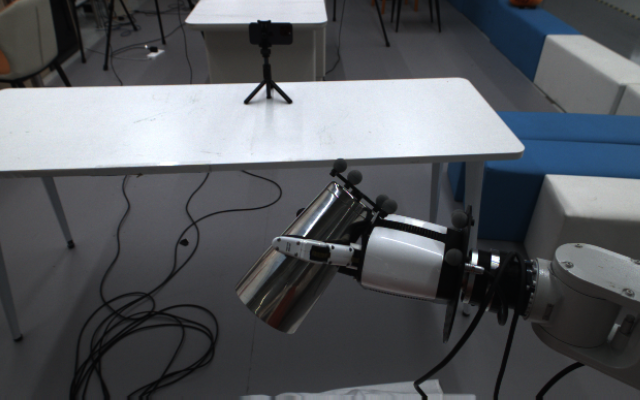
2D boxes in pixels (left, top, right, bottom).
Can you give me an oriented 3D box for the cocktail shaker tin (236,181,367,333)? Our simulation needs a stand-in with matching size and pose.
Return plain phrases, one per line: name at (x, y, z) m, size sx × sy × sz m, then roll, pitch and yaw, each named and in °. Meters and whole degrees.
cocktail shaker tin at (-0.011, 0.060, 0.580) m, size 0.170 × 0.093 × 0.093 m, roll -50°, pitch 46°, yaw 3°
